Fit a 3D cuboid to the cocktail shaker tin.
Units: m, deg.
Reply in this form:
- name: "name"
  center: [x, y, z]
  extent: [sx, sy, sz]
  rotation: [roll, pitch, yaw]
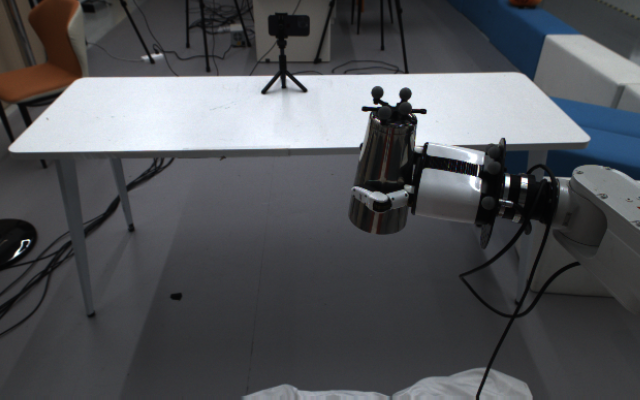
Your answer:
- name: "cocktail shaker tin"
  center: [0.097, -0.046, 0.708]
  extent: [0.093, 0.170, 0.093]
  rotation: [3, 34, -2]
